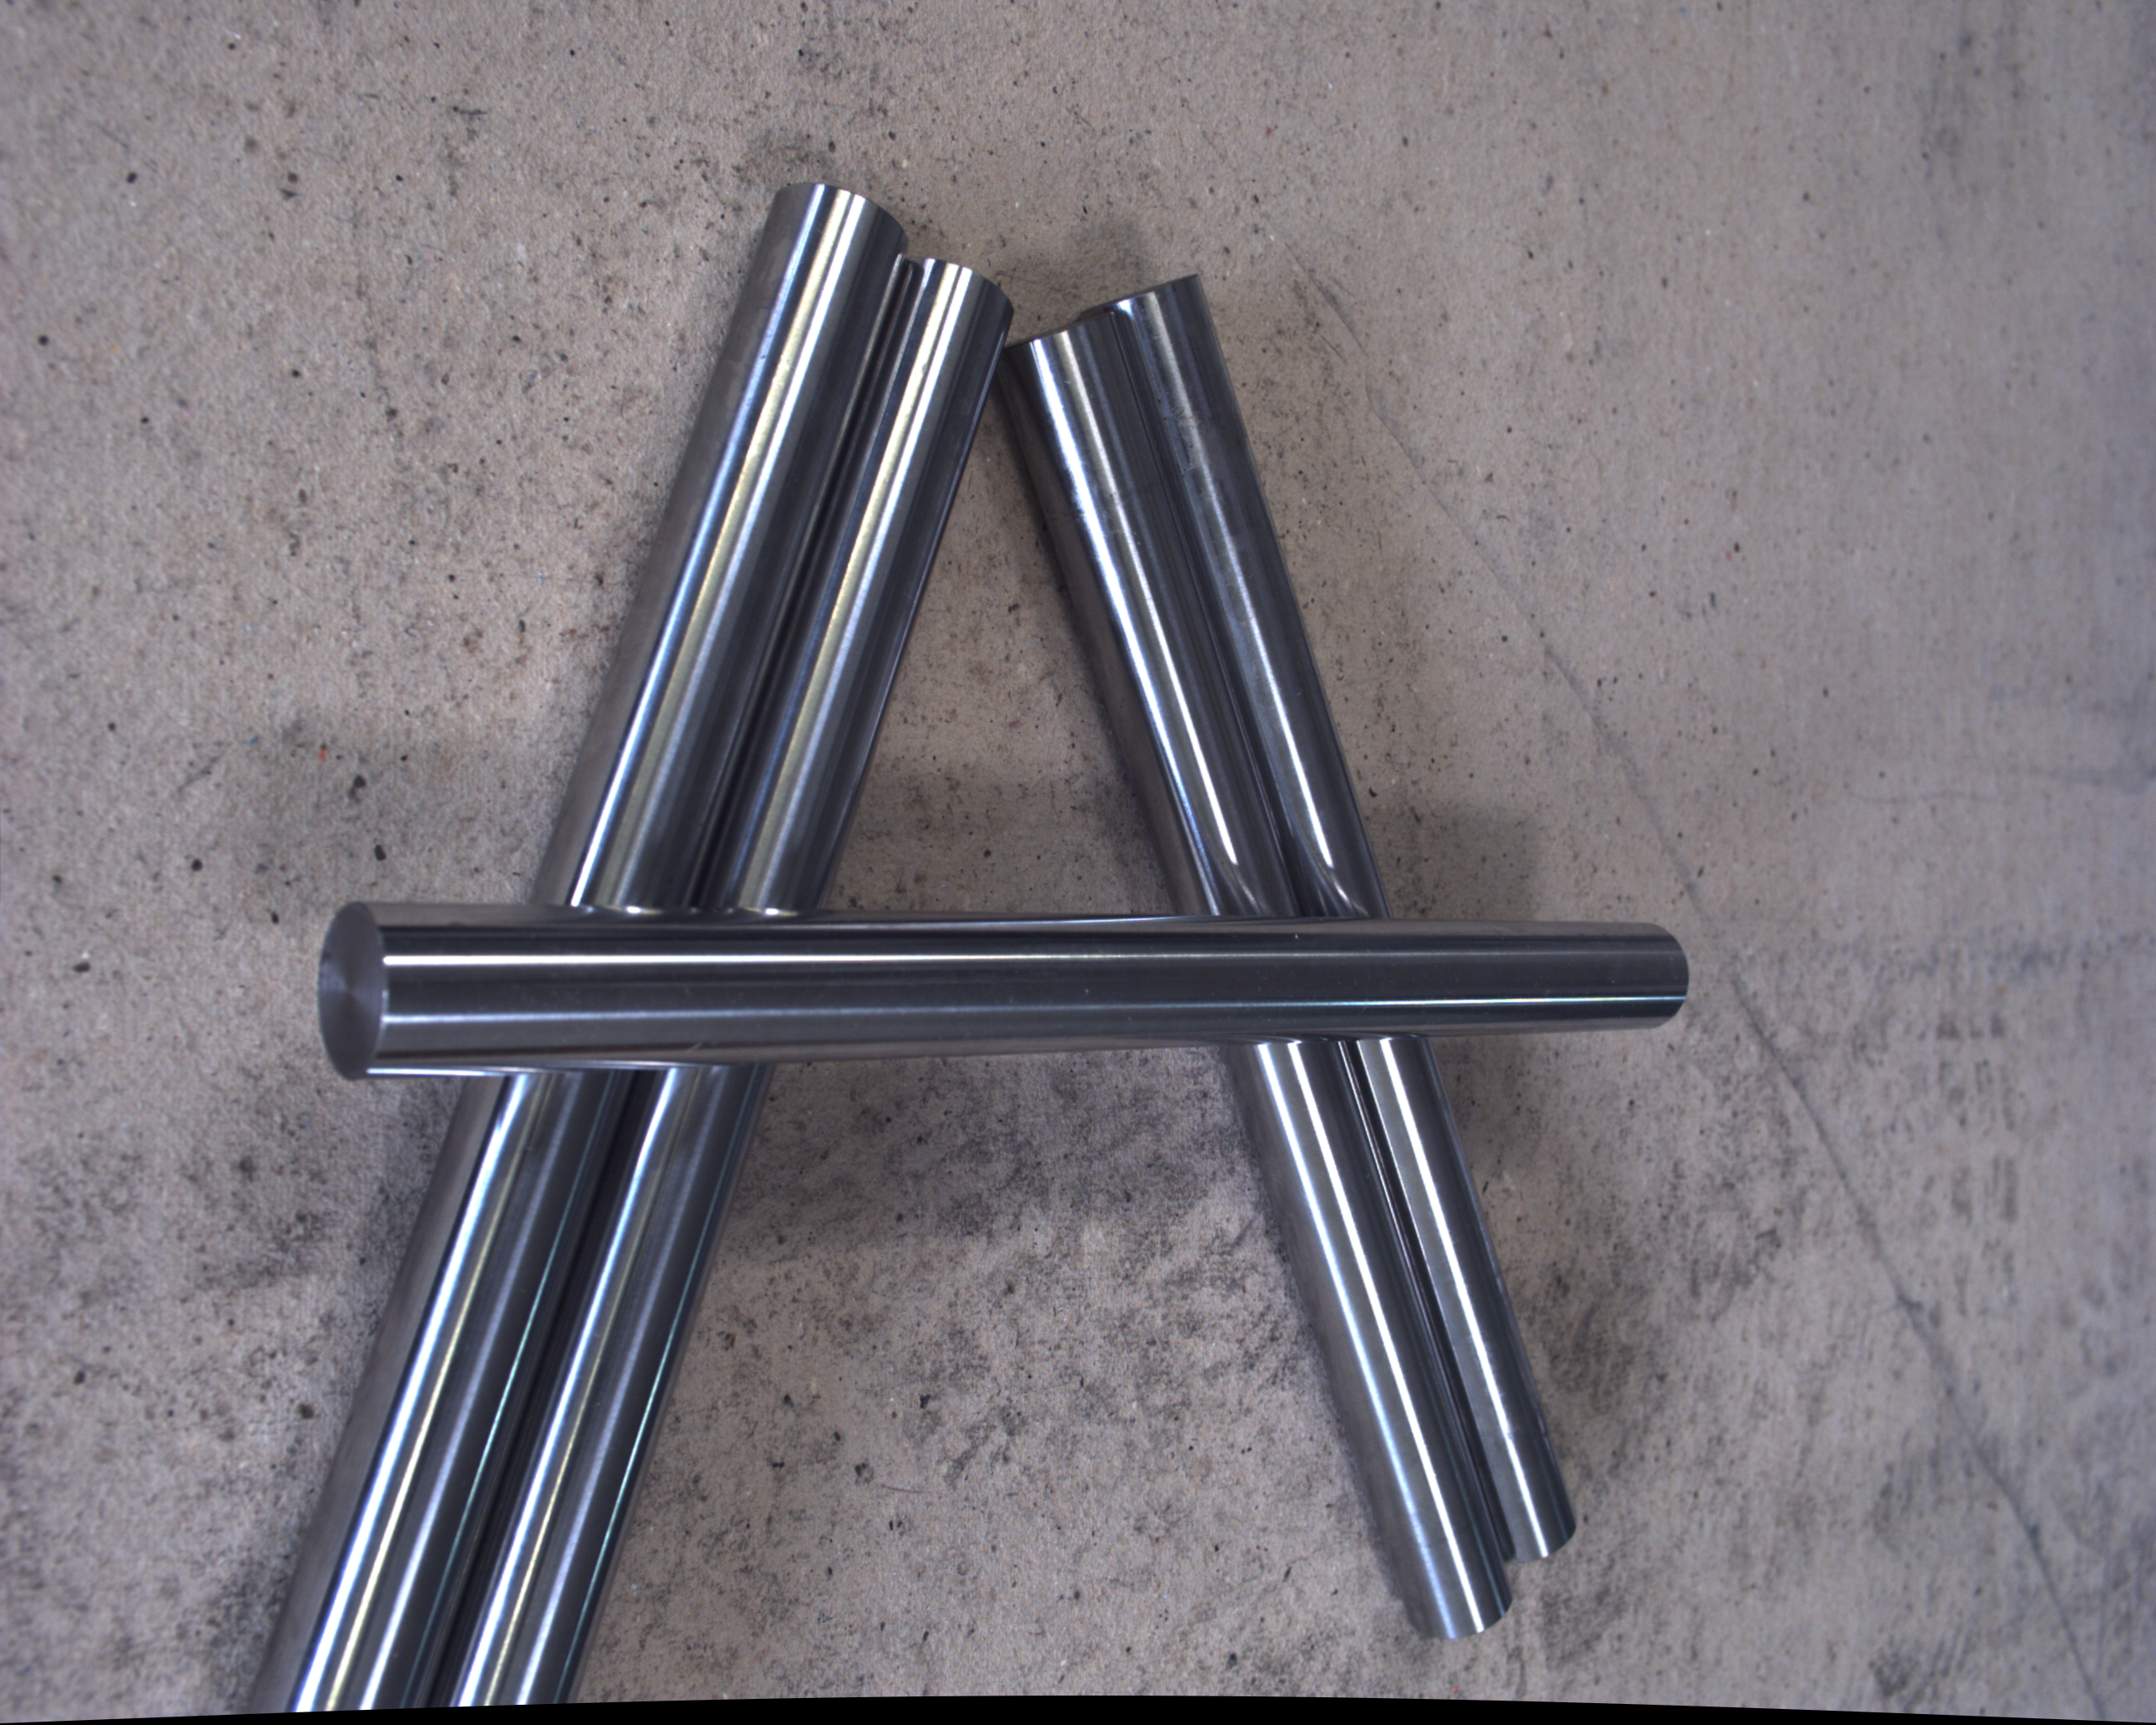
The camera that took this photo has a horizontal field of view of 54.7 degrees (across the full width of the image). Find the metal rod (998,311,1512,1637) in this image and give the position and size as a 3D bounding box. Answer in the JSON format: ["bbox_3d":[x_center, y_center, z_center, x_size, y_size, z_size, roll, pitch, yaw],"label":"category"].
[{"bbox_3d":[0.041,0.034,0.441,0.025,0.025,0.298,-30,109,-36],"label":"metal rod"}]

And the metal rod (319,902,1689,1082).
[{"bbox_3d":[0.015,0.022,0.386,0.302,0.025,0.025,2,89,-40],"label":"metal rod"}]

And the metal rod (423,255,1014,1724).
[{"bbox_3d":[-0.064,0.035,0.352,0.025,0.025,0.299,26,74,-37],"label":"metal rod"}]

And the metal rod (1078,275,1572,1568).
[{"bbox_3d":[0.058,0.023,0.455,0.025,0.025,0.298,-30,109,-36],"label":"metal rod"}]

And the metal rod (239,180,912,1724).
[{"bbox_3d":[-0.082,0.026,0.337,0.025,0.025,0.299,26,74,-37],"label":"metal rod"}]
